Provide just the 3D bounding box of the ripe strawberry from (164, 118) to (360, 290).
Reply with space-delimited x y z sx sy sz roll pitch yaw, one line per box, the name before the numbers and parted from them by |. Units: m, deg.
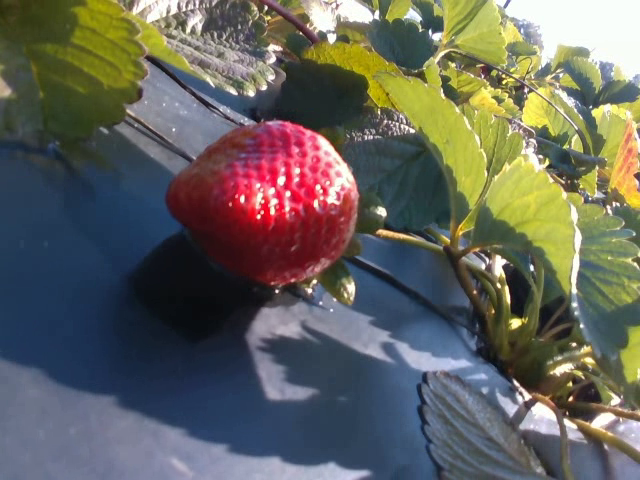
ripe strawberry | -0.013 -0.007 0.126 0.044 0.042 0.055 -13 -2 19
